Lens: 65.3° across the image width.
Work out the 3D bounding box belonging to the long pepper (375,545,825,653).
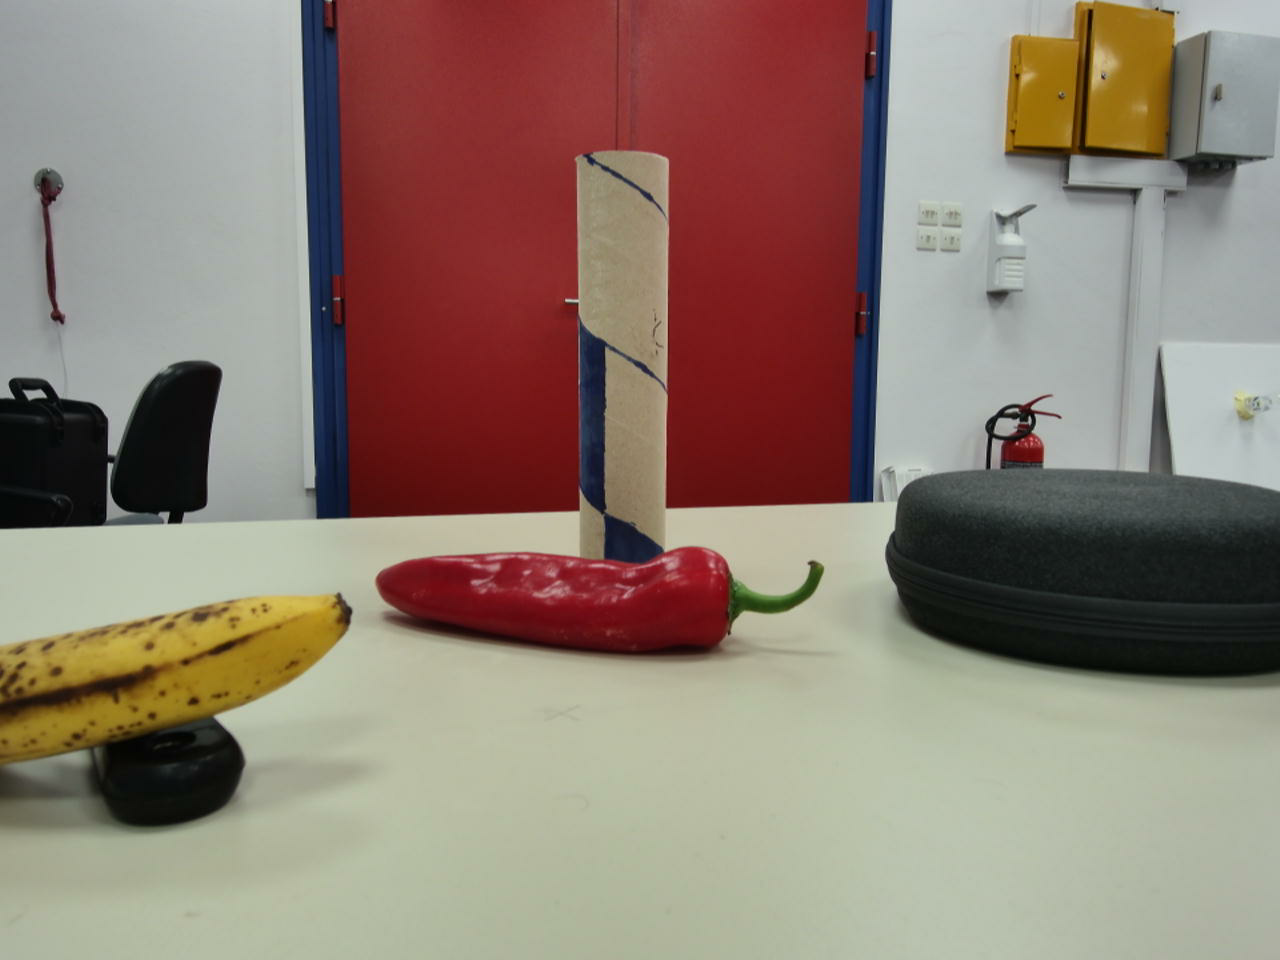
[{"bbox_3d":[-0.028,0.049,0.436,0.211,0.043,0.050,1,4,19],"label":"long pepper"}]
